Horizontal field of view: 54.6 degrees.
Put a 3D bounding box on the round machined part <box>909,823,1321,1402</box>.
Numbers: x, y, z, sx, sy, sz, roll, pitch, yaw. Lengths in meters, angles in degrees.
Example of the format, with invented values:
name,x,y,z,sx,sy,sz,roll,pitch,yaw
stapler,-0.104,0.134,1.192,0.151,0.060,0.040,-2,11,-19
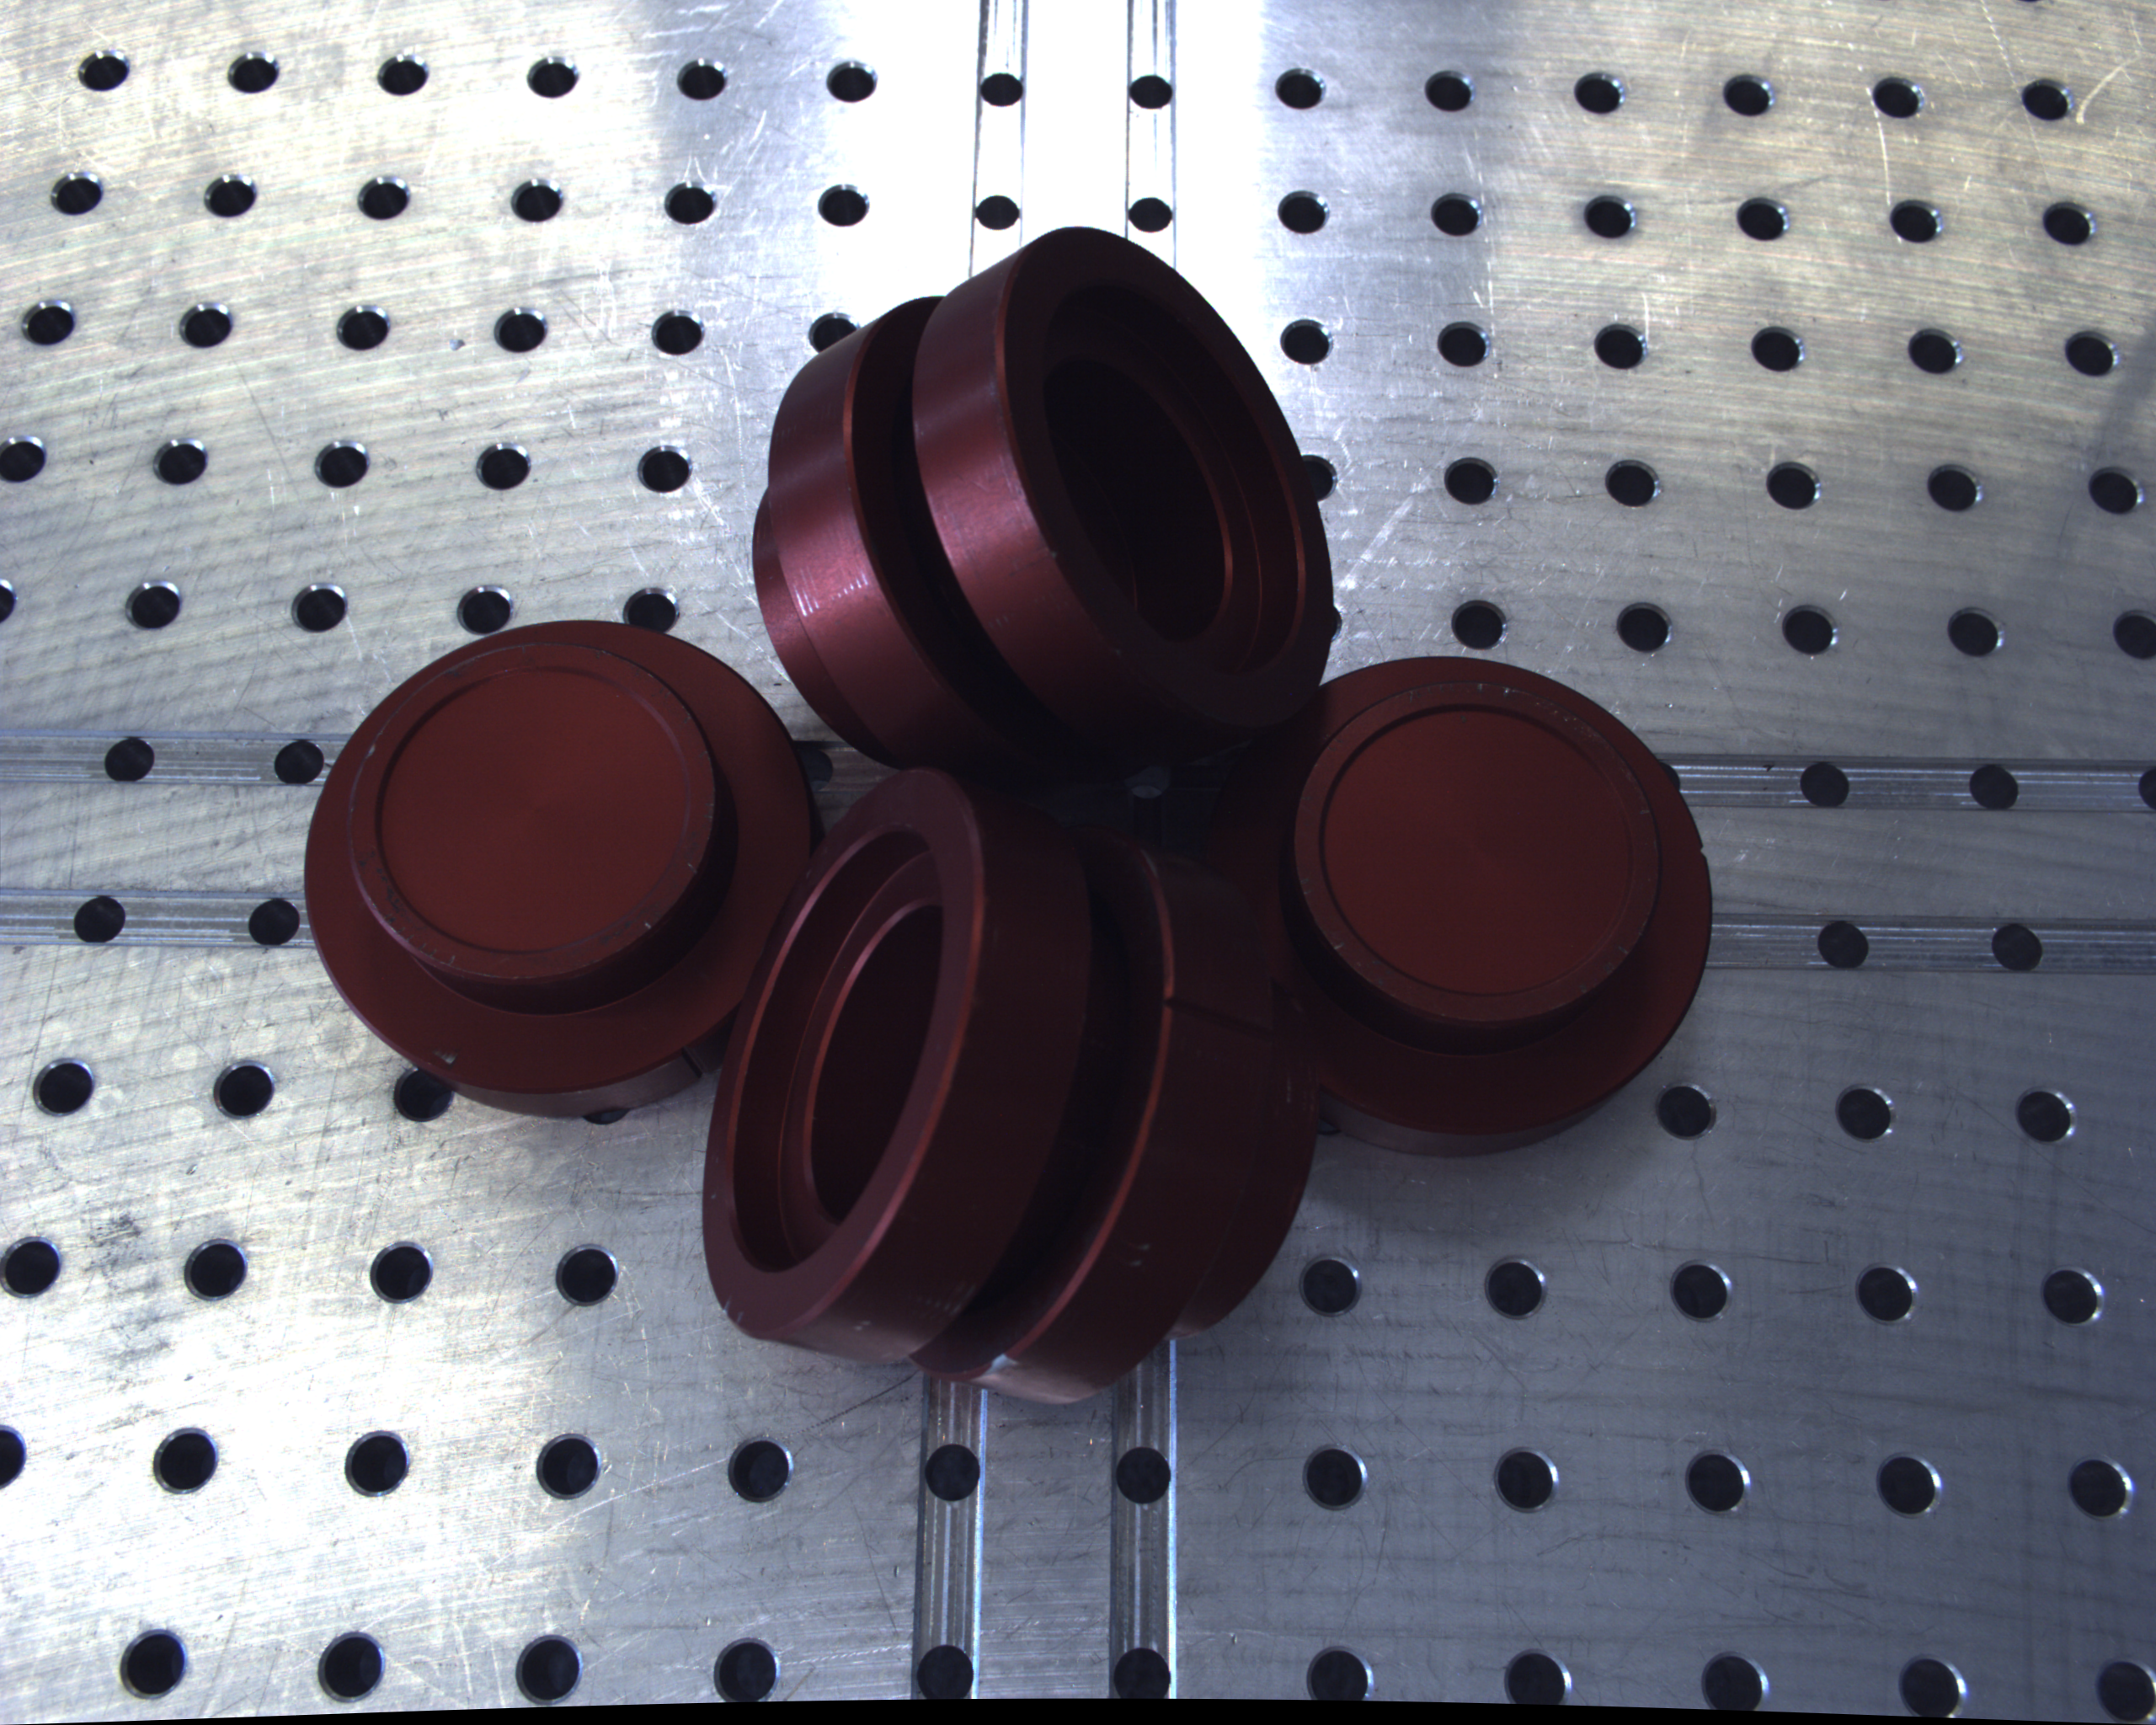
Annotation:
name,x,y,z,sx,sy,sz,roll,pitch,yaw
round machined part,0.005,0.046,0.366,0.042,0.098,0.098,21,68,-26

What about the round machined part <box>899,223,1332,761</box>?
name,x,y,z,sx,sy,sz,roll,pitch,yaw
round machined part,0.003,-0.064,0.390,0.042,0.099,0.098,-21,65,35

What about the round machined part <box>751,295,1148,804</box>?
name,x,y,z,sx,sy,sz,roll,pitch,yaw
round machined part,-0.024,-0.056,0.405,0.042,0.099,0.098,-21,65,35

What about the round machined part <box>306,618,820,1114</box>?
name,x,y,z,sx,sy,sz,roll,pitch,yaw
round machined part,-0.100,-0.004,0.403,0.099,0.042,0.098,0,70,0

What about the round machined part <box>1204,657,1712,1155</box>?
name,x,y,z,sx,sy,sz,roll,pitch,yaw
round machined part,0.073,0.004,0.402,0.099,0.042,0.098,0,70,0

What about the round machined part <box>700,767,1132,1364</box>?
name,x,y,z,sx,sy,sz,roll,pitch,yaw
round machined part,-0.024,0.036,0.355,0.042,0.098,0.098,21,68,-27
